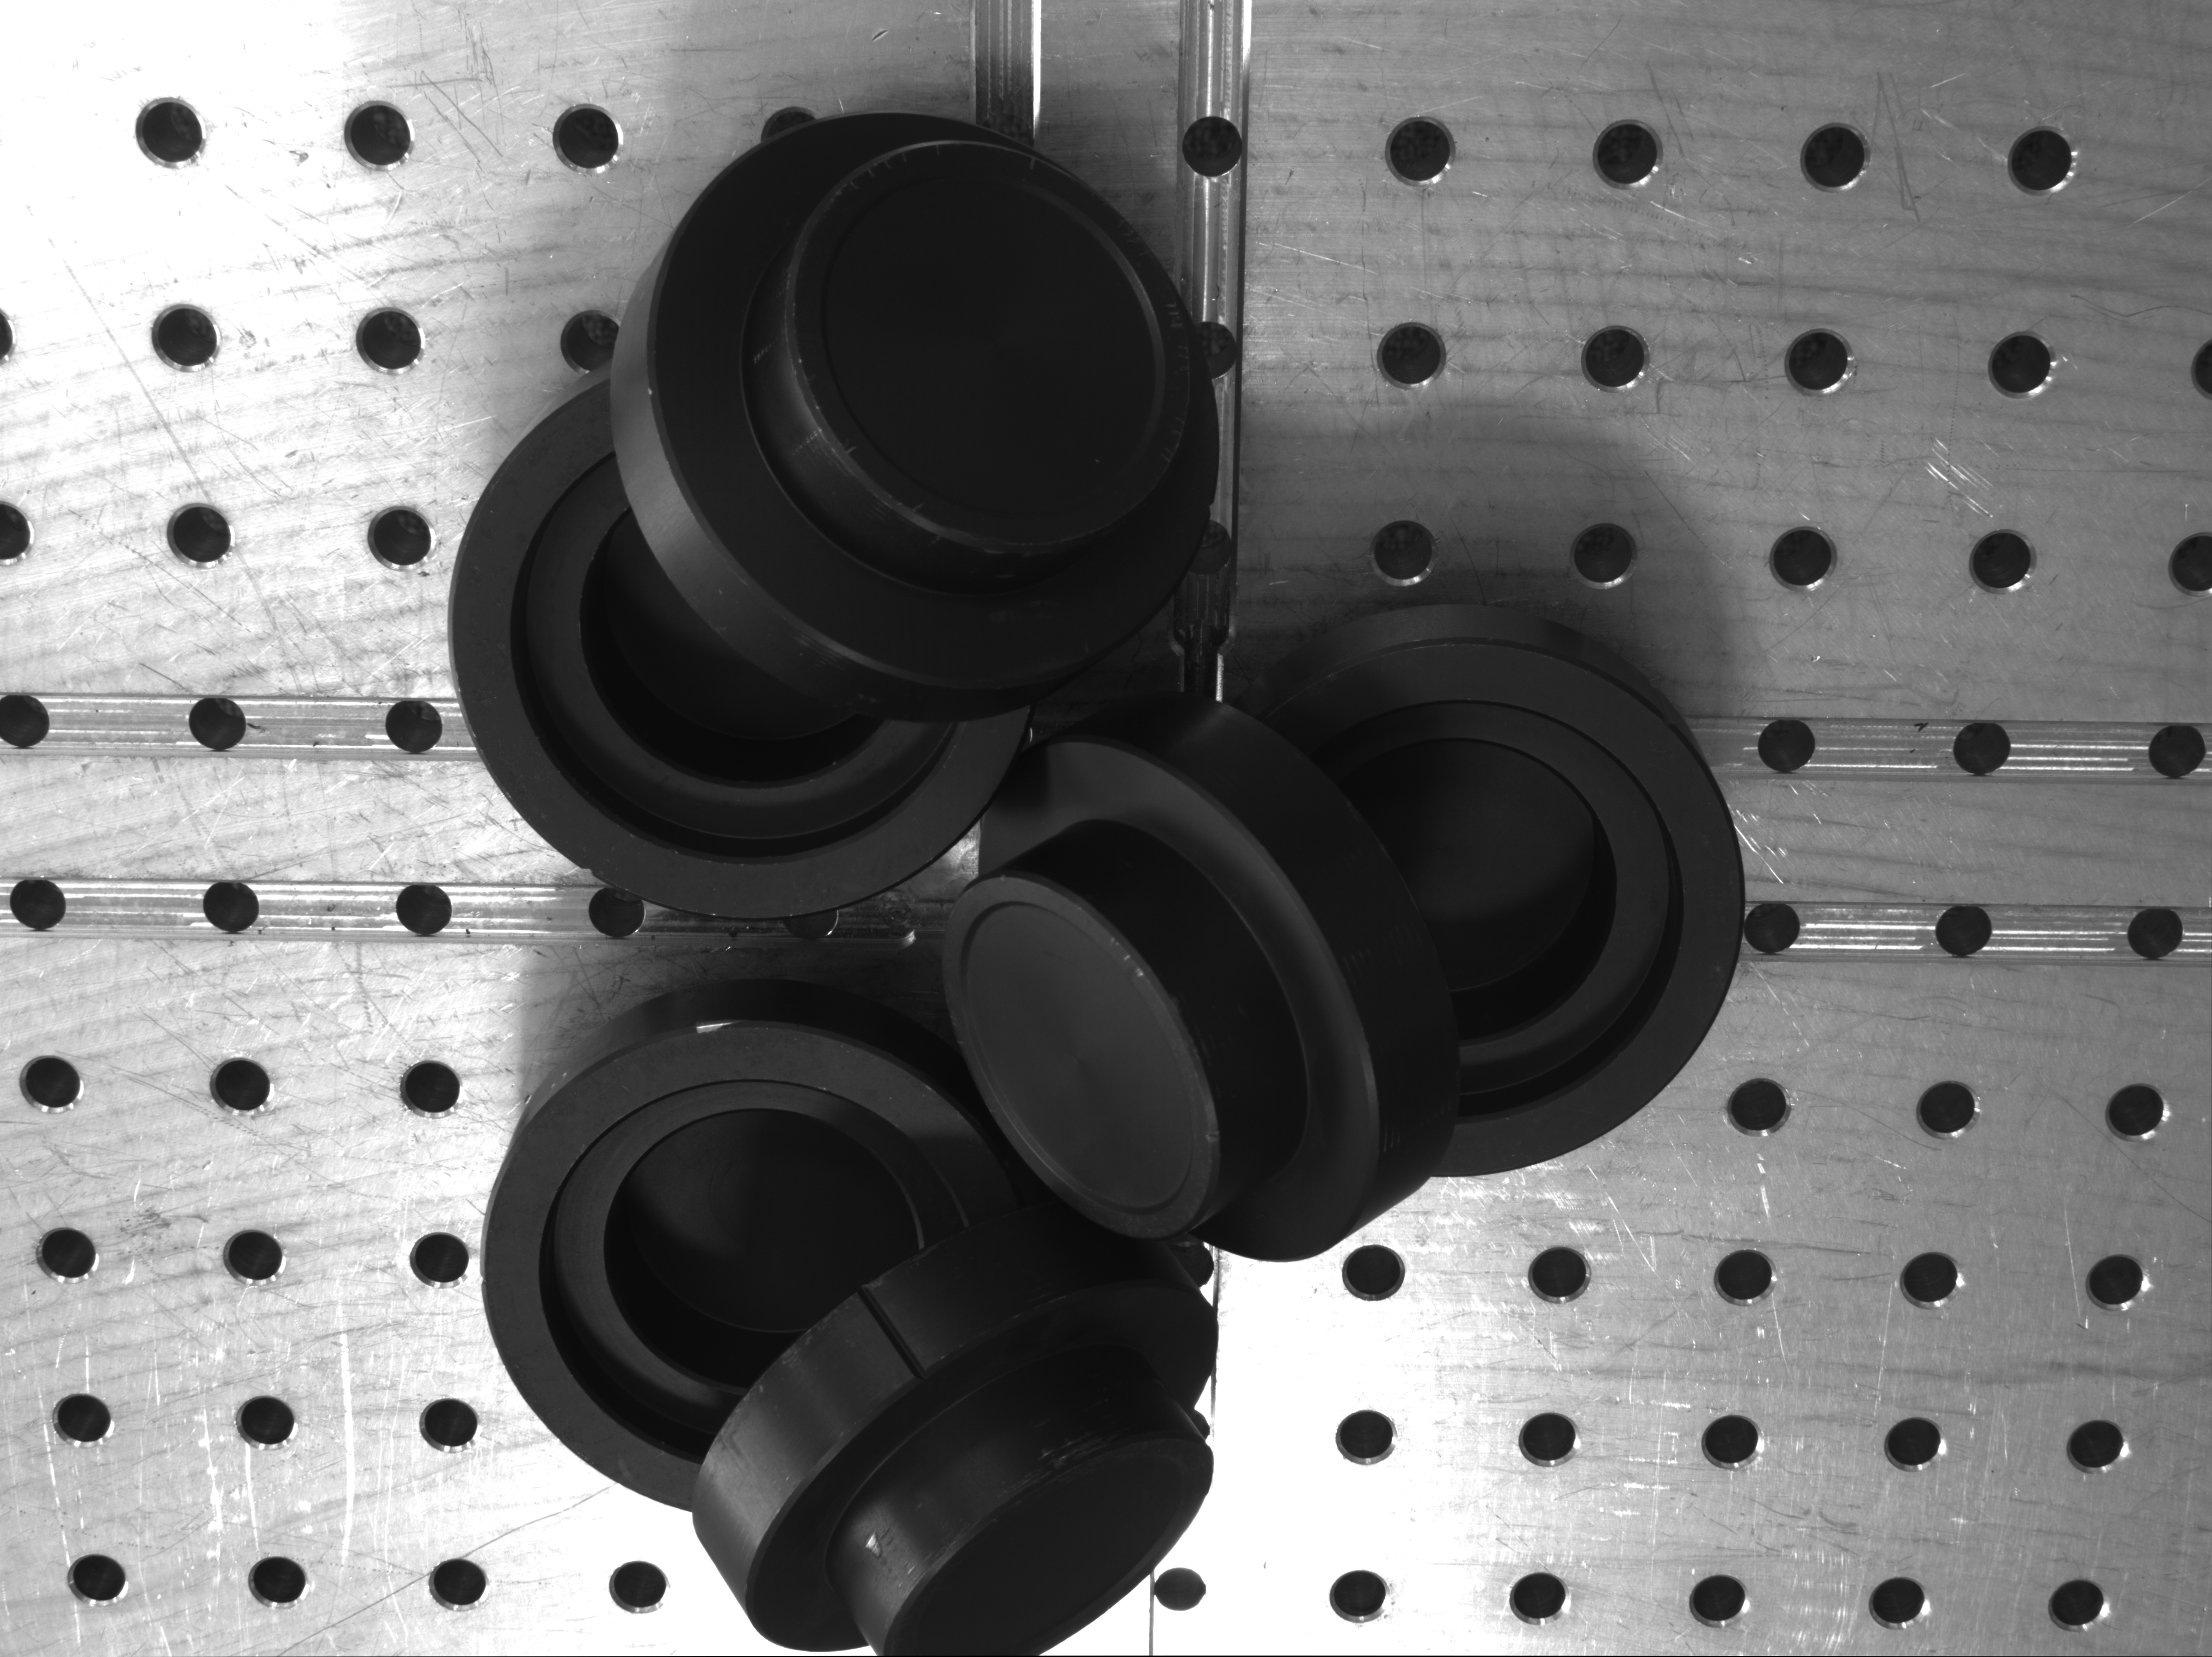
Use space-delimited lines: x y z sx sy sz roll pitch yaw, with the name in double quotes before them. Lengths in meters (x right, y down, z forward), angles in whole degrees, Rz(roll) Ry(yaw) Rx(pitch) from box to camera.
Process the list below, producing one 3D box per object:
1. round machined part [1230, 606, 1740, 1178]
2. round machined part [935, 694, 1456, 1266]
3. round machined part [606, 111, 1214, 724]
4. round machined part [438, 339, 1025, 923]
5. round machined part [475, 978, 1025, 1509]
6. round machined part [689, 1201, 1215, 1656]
"round machined part" 0.058 0.008 0.640 0.098 0.042 0.098 0 110 0
"round machined part" 0.009 0.030 0.617 0.042 0.098 0.098 -29 114 -34
"round machined part" -0.026 -0.069 0.583 0.098 0.042 0.098 8 71 -24
"round machined part" -0.061 -0.037 0.623 0.098 0.042 0.098 0 110 0
"round machined part" -0.062 0.072 0.663 0.098 0.042 0.098 0 110 0
"round machined part" -0.021 0.114 0.649 0.098 0.042 0.098 -28 148 -19
